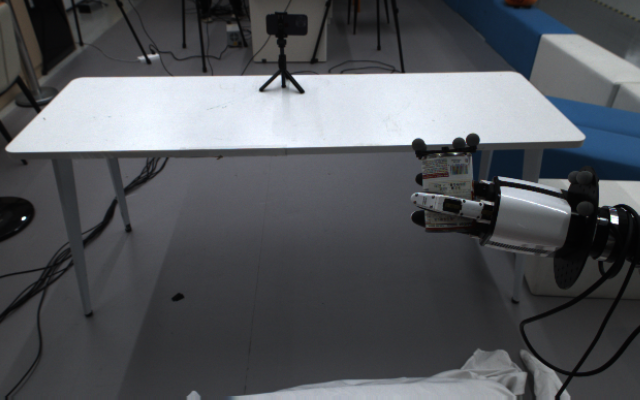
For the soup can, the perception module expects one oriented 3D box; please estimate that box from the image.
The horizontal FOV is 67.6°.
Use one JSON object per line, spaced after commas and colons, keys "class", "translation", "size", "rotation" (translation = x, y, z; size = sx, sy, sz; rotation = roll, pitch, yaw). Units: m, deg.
{"class": "soup can", "translation": [0.173, -0.009, 0.647], "size": [0.067, 0.101, 0.067], "rotation": [-3, -1, 0]}
